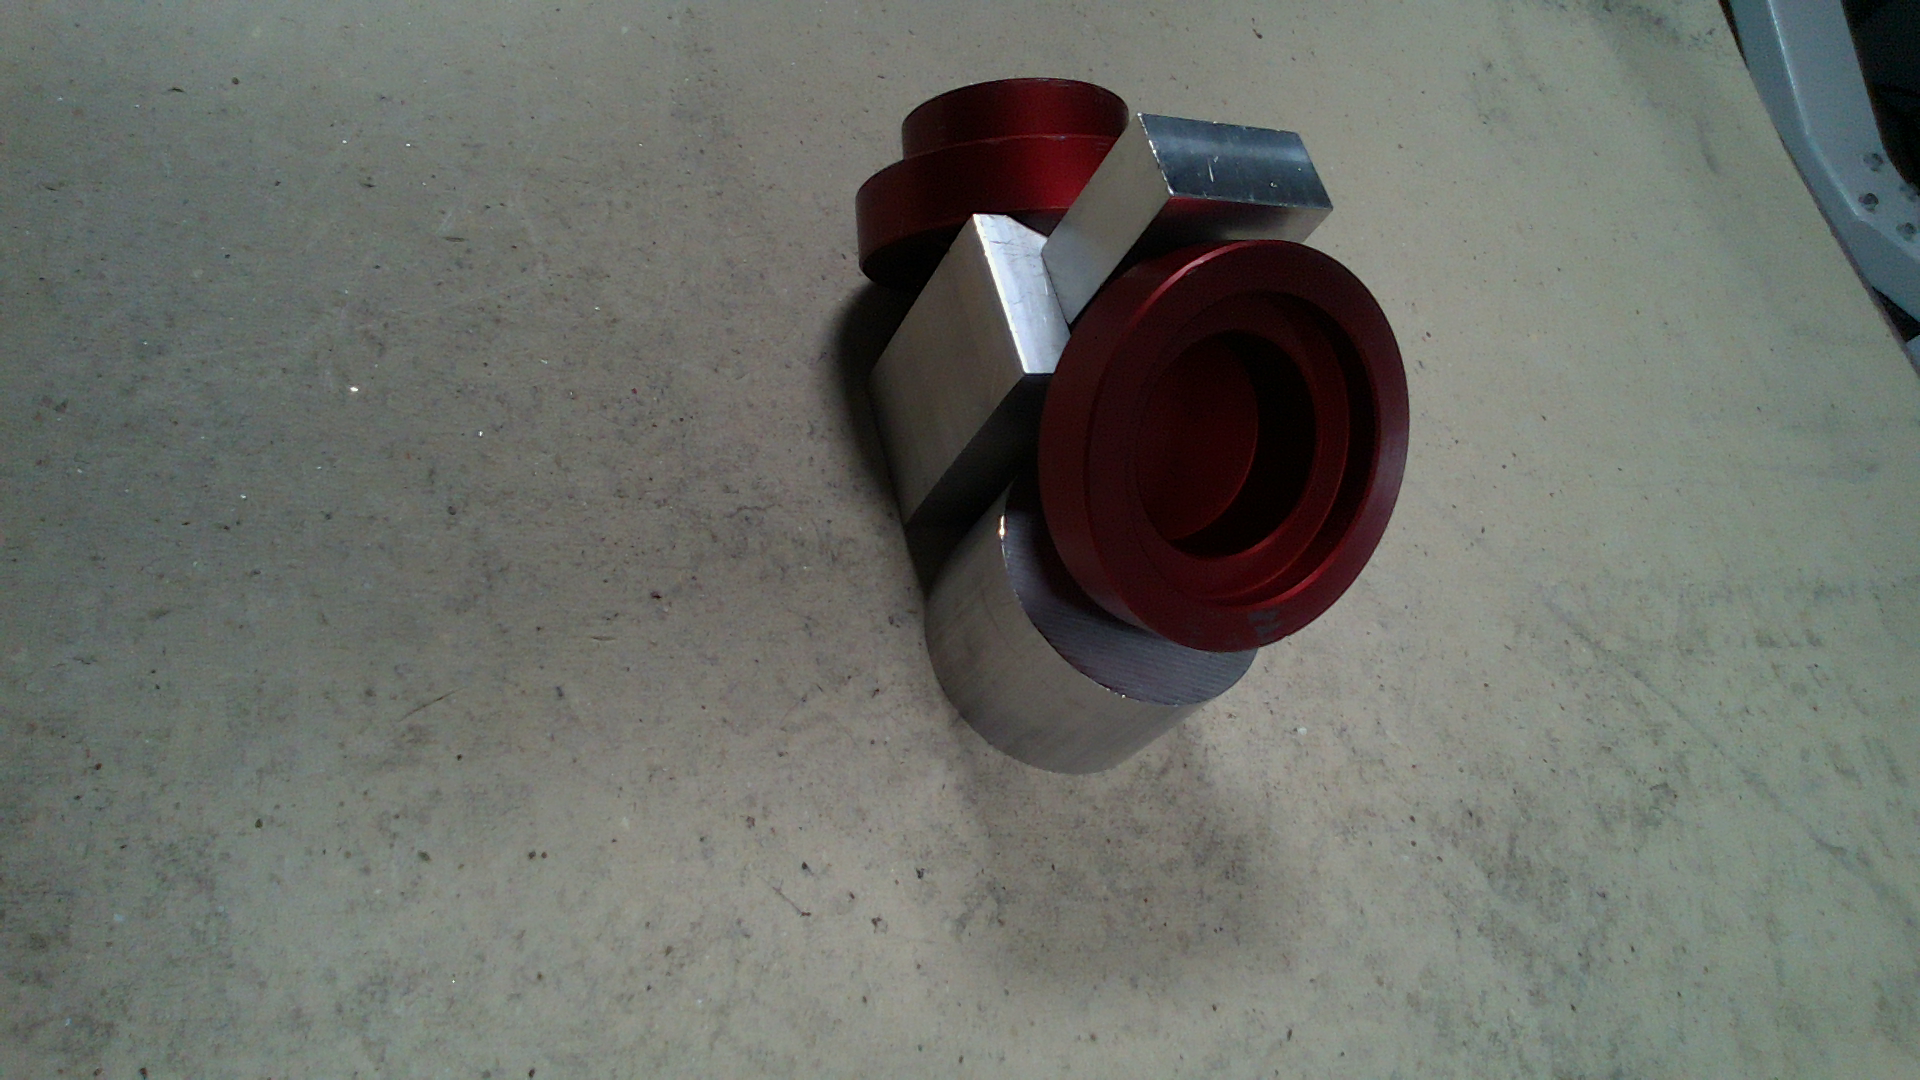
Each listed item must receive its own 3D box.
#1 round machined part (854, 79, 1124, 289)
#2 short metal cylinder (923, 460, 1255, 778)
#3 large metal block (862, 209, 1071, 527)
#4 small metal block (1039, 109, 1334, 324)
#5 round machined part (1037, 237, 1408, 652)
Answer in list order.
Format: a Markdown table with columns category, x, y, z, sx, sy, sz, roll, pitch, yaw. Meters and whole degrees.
| category | x | y | z | sx | sy | sz | roll | pitch | yaw |
| --- | --- | --- | --- | --- | --- | --- | --- | --- | --- |
| round machined part | 0.017 | -0.105 | 0.411 | 0.098 | 0.098 | 0.042 | -2 | 88 | -29 |
| short metal cylinder | 0.036 | 0.019 | 0.383 | 0.080 | 0.050 | 0.080 | 14 | 56 | -21 |
| large metal block | 0.028 | -0.046 | 0.397 | 0.080 | 0.080 | 0.050 | -2 | 63 | -29 |
| small metal block | 0.056 | -0.079 | 0.349 | 0.050 | 0.050 | 0.025 | -3 | 62 | -29 |
| round machined part | 0.060 | -0.025 | 0.342 | 0.098 | 0.042 | 0.098 | -6 | 103 | -28 |
